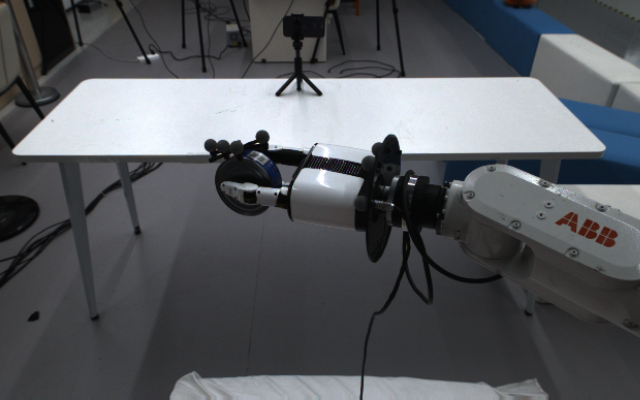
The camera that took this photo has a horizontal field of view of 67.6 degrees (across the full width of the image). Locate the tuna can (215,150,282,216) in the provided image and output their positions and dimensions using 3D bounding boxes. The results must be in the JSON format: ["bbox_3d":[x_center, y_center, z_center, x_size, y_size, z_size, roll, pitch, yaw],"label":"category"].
[{"bbox_3d":[-0.090,-0.023,0.651,0.085,0.085,0.034,13,29,15],"label":"tuna can"}]
